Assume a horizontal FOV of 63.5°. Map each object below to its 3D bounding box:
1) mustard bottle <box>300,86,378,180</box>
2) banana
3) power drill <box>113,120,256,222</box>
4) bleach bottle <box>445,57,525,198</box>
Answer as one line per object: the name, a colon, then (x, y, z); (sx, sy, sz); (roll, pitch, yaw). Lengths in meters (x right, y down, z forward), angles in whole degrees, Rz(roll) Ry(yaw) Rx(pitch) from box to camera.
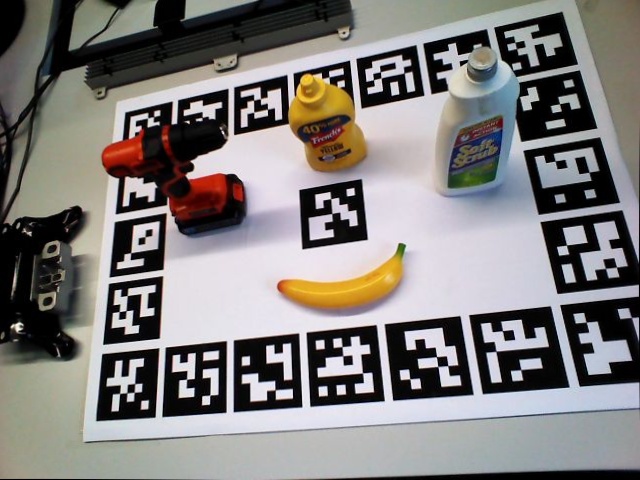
mustard bottle: (0.024, -0.154, 0.735); (0.096, 0.191, 0.058); (-15, 67, 8)
banana: (0.048, 0.067, 0.721); (0.198, 0.039, 0.074); (-14, 69, 14)
power drill: (-0.165, -0.095, 0.734); (0.185, 0.187, 0.057); (-15, 67, 14)
bleach bottle: (0.204, -0.132, 0.641); (0.103, 0.251, 0.067); (0, 70, 15)
